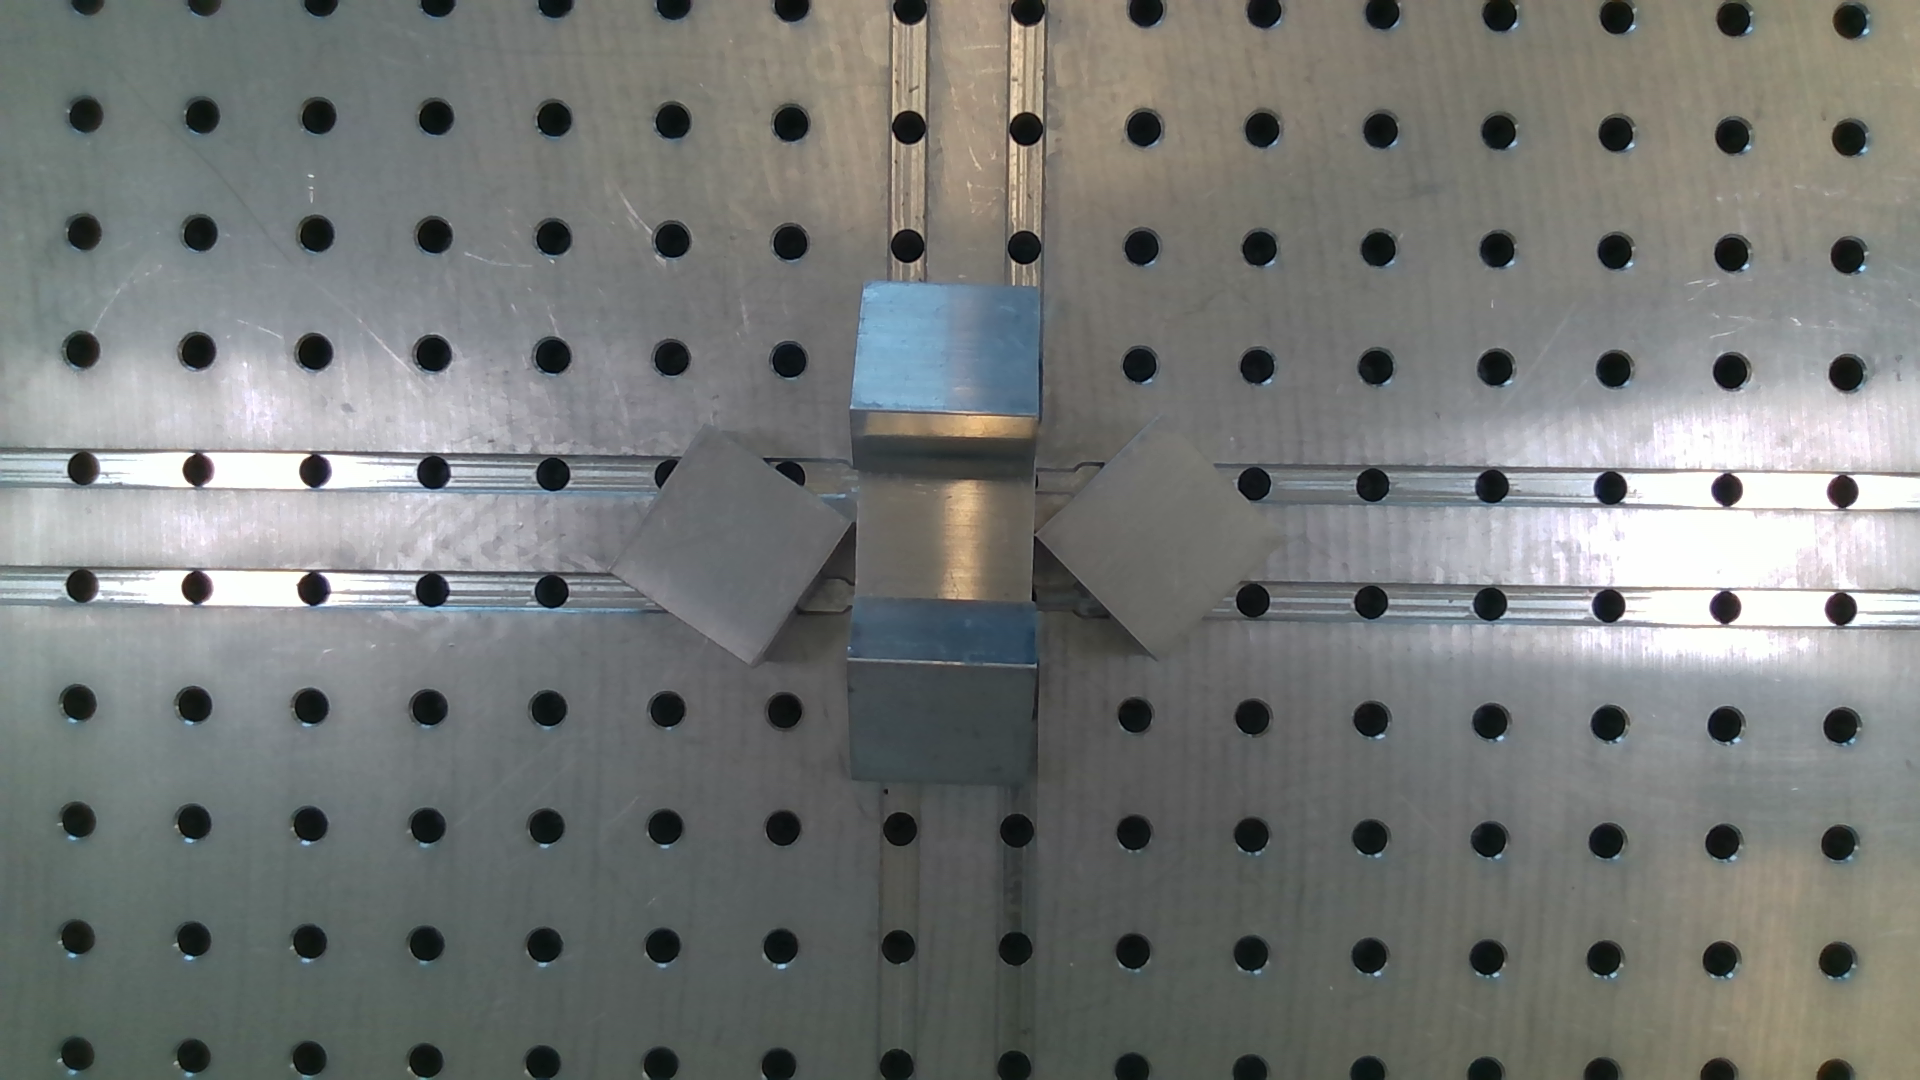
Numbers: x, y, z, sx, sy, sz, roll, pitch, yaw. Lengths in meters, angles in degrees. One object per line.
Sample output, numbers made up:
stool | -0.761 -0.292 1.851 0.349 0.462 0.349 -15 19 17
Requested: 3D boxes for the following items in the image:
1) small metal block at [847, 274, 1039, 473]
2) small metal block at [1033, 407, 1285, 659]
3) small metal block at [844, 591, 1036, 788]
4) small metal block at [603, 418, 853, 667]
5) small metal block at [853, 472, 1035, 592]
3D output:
small metal block | -0.004 -0.047 0.385 0.050 0.025 0.050 2 54 1
small metal block | 0.056 -0.002 0.398 0.050 0.025 0.050 -44 91 -1
small metal block | -0.006 0.042 0.384 0.050 0.025 0.050 2 131 0
small metal block | -0.065 0.001 0.397 0.050 0.025 0.050 34 89 0
small metal block | -0.005 -0.001 0.397 0.050 0.025 0.050 1 90 -1
